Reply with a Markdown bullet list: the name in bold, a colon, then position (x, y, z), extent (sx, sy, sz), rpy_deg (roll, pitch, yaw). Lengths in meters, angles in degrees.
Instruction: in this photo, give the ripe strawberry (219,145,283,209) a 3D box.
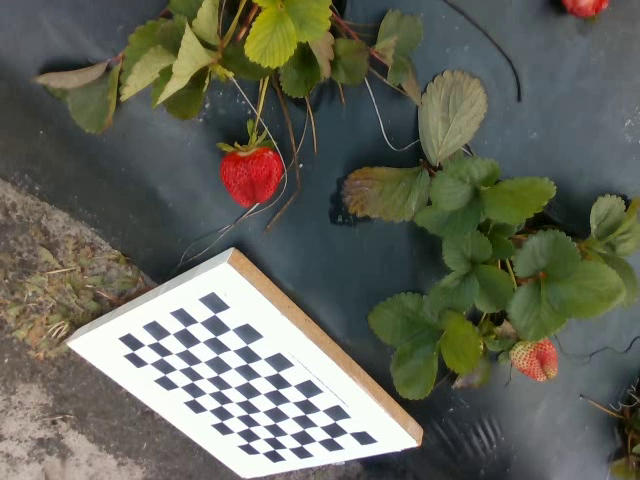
- **ripe strawberry**: position (-0.016, -0.013, 0.132), extent (0.017, 0.015, 0.013), rpy_deg (-4, -5, 24)
